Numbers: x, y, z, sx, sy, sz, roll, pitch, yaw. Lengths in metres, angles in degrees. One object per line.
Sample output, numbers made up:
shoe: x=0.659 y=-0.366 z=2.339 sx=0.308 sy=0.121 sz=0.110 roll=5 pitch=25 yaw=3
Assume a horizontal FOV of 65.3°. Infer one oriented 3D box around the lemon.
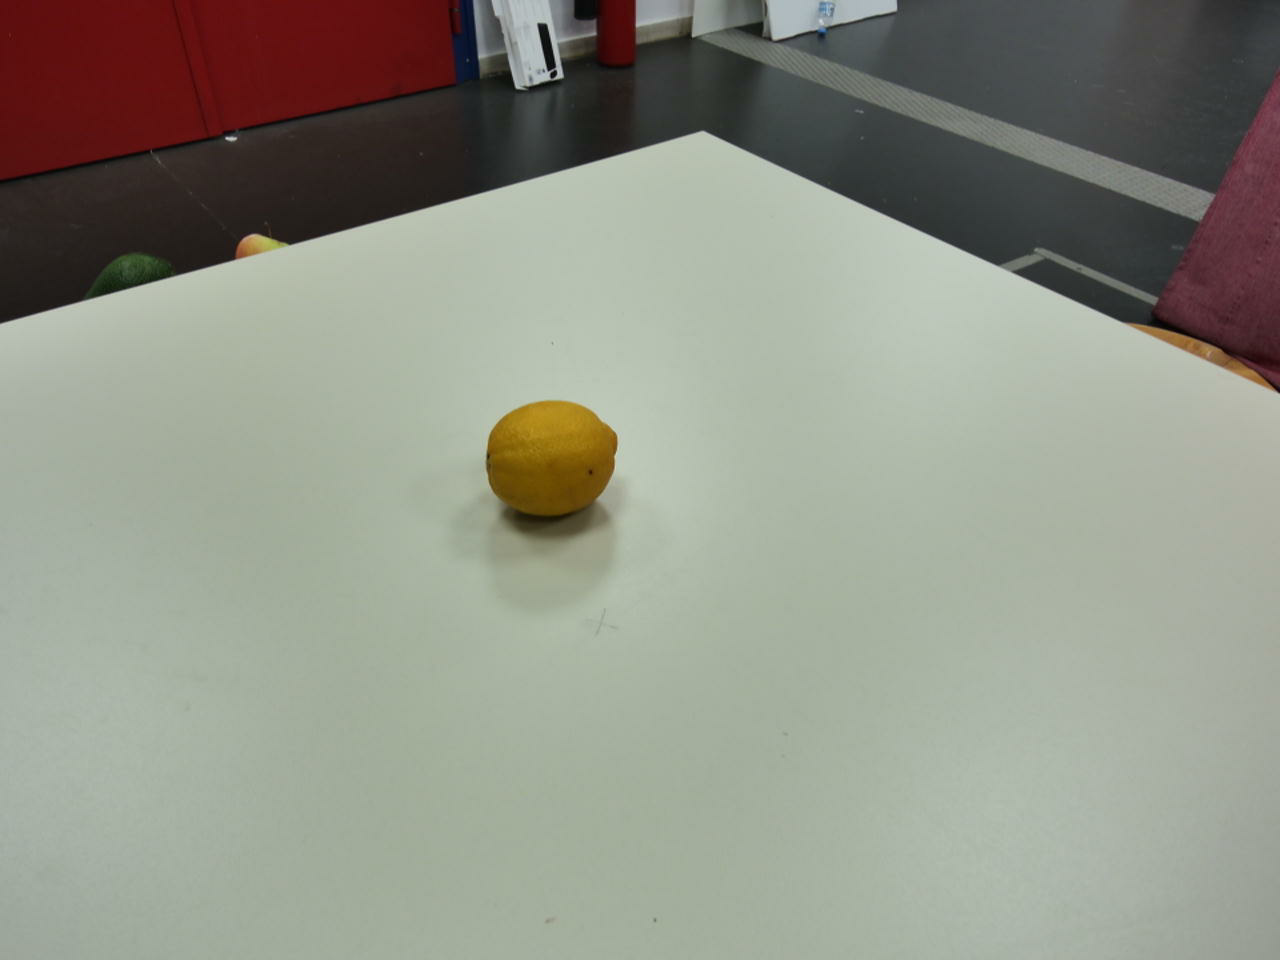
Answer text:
lemon: x=-0.046 y=-0.011 z=0.516 sx=0.067 sy=0.059 sz=0.060 roll=3 pitch=38 yaw=3
